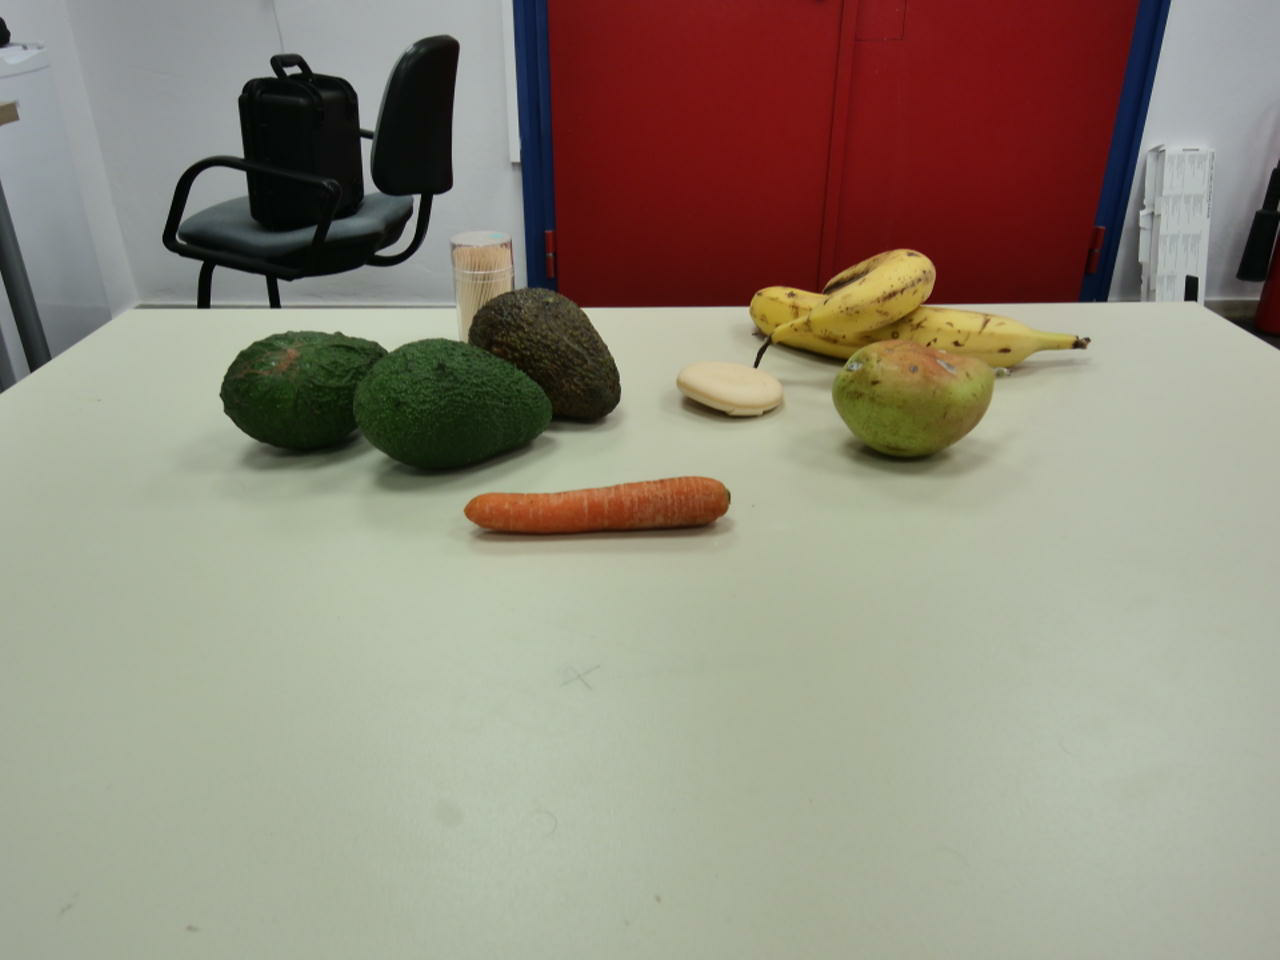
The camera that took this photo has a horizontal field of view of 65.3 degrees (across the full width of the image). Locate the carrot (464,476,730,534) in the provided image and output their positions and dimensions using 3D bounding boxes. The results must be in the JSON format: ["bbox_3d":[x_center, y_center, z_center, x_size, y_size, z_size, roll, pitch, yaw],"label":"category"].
[{"bbox_3d":[-0.019,0.011,0.458,0.122,0.023,0.024,-1,24,-3],"label":"carrot"}]
